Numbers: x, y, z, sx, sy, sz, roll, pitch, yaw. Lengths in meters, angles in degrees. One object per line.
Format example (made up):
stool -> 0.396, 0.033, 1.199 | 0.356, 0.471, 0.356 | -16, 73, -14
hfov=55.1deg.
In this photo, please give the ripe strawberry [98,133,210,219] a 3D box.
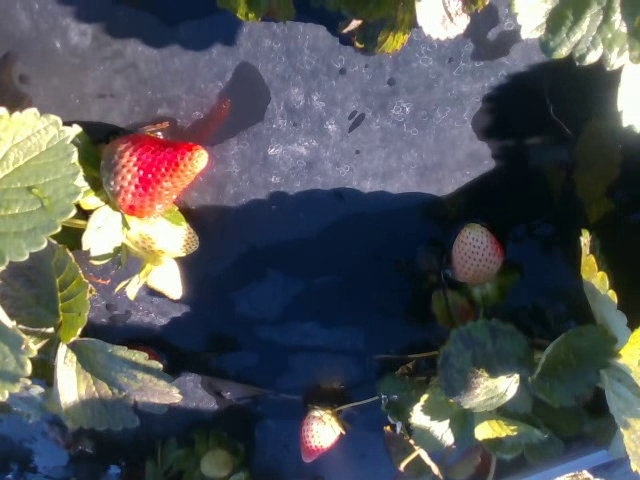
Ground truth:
ripe strawberry -> -0.078, -0.036, 0.297 | 0.064, 0.052, 0.050 | -19, -18, 26
